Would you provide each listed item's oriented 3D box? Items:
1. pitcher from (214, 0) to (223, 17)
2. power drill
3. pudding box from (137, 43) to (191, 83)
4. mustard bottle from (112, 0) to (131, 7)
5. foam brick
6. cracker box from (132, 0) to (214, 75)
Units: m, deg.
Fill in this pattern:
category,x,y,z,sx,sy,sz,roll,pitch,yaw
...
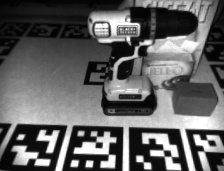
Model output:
category,x,y,z,sx,sy,sz,roll,pitch,yaw
pitcher,0.179,-0.197,0.557,0.188,0.244,0.133,5,46,9
power drill,0.046,-0.058,0.406,0.184,0.188,0.057,1,42,2
pudding box,0.115,-0.050,0.496,0.113,0.090,0.038,1,44,6
mustard bottle,0.047,-0.193,0.571,0.095,0.192,0.058,11,48,13
foam brick,0.168,0.020,0.472,0.078,0.051,0.052,4,47,5
cracker box,0.124,-0.123,0.491,0.164,0.215,0.071,-1,43,4
